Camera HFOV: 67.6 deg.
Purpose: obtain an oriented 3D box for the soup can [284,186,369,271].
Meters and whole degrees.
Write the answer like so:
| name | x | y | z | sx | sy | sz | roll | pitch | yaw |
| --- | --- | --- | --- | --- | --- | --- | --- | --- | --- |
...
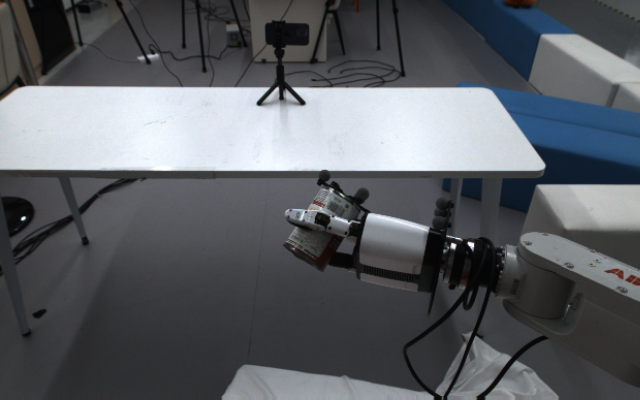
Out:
| name | x | y | z | sx | sy | sz | roll | pitch | yaw |
| --- | --- | --- | --- | --- | --- | --- | --- | --- | --- |
| soup can | 0.005 | 0.041 | 0.682 | 0.067 | 0.067 | 0.101 | 27 | 78 | 31 |
